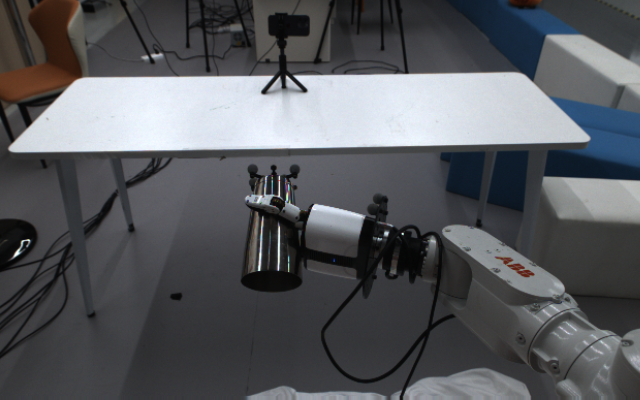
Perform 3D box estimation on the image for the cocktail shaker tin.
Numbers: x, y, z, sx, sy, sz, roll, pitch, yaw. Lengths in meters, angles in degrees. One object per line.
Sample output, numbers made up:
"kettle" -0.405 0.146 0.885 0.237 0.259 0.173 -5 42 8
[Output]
"cocktail shaker tin" -0.076 0.048 0.758 0.093 0.093 0.170 0 59 -3
